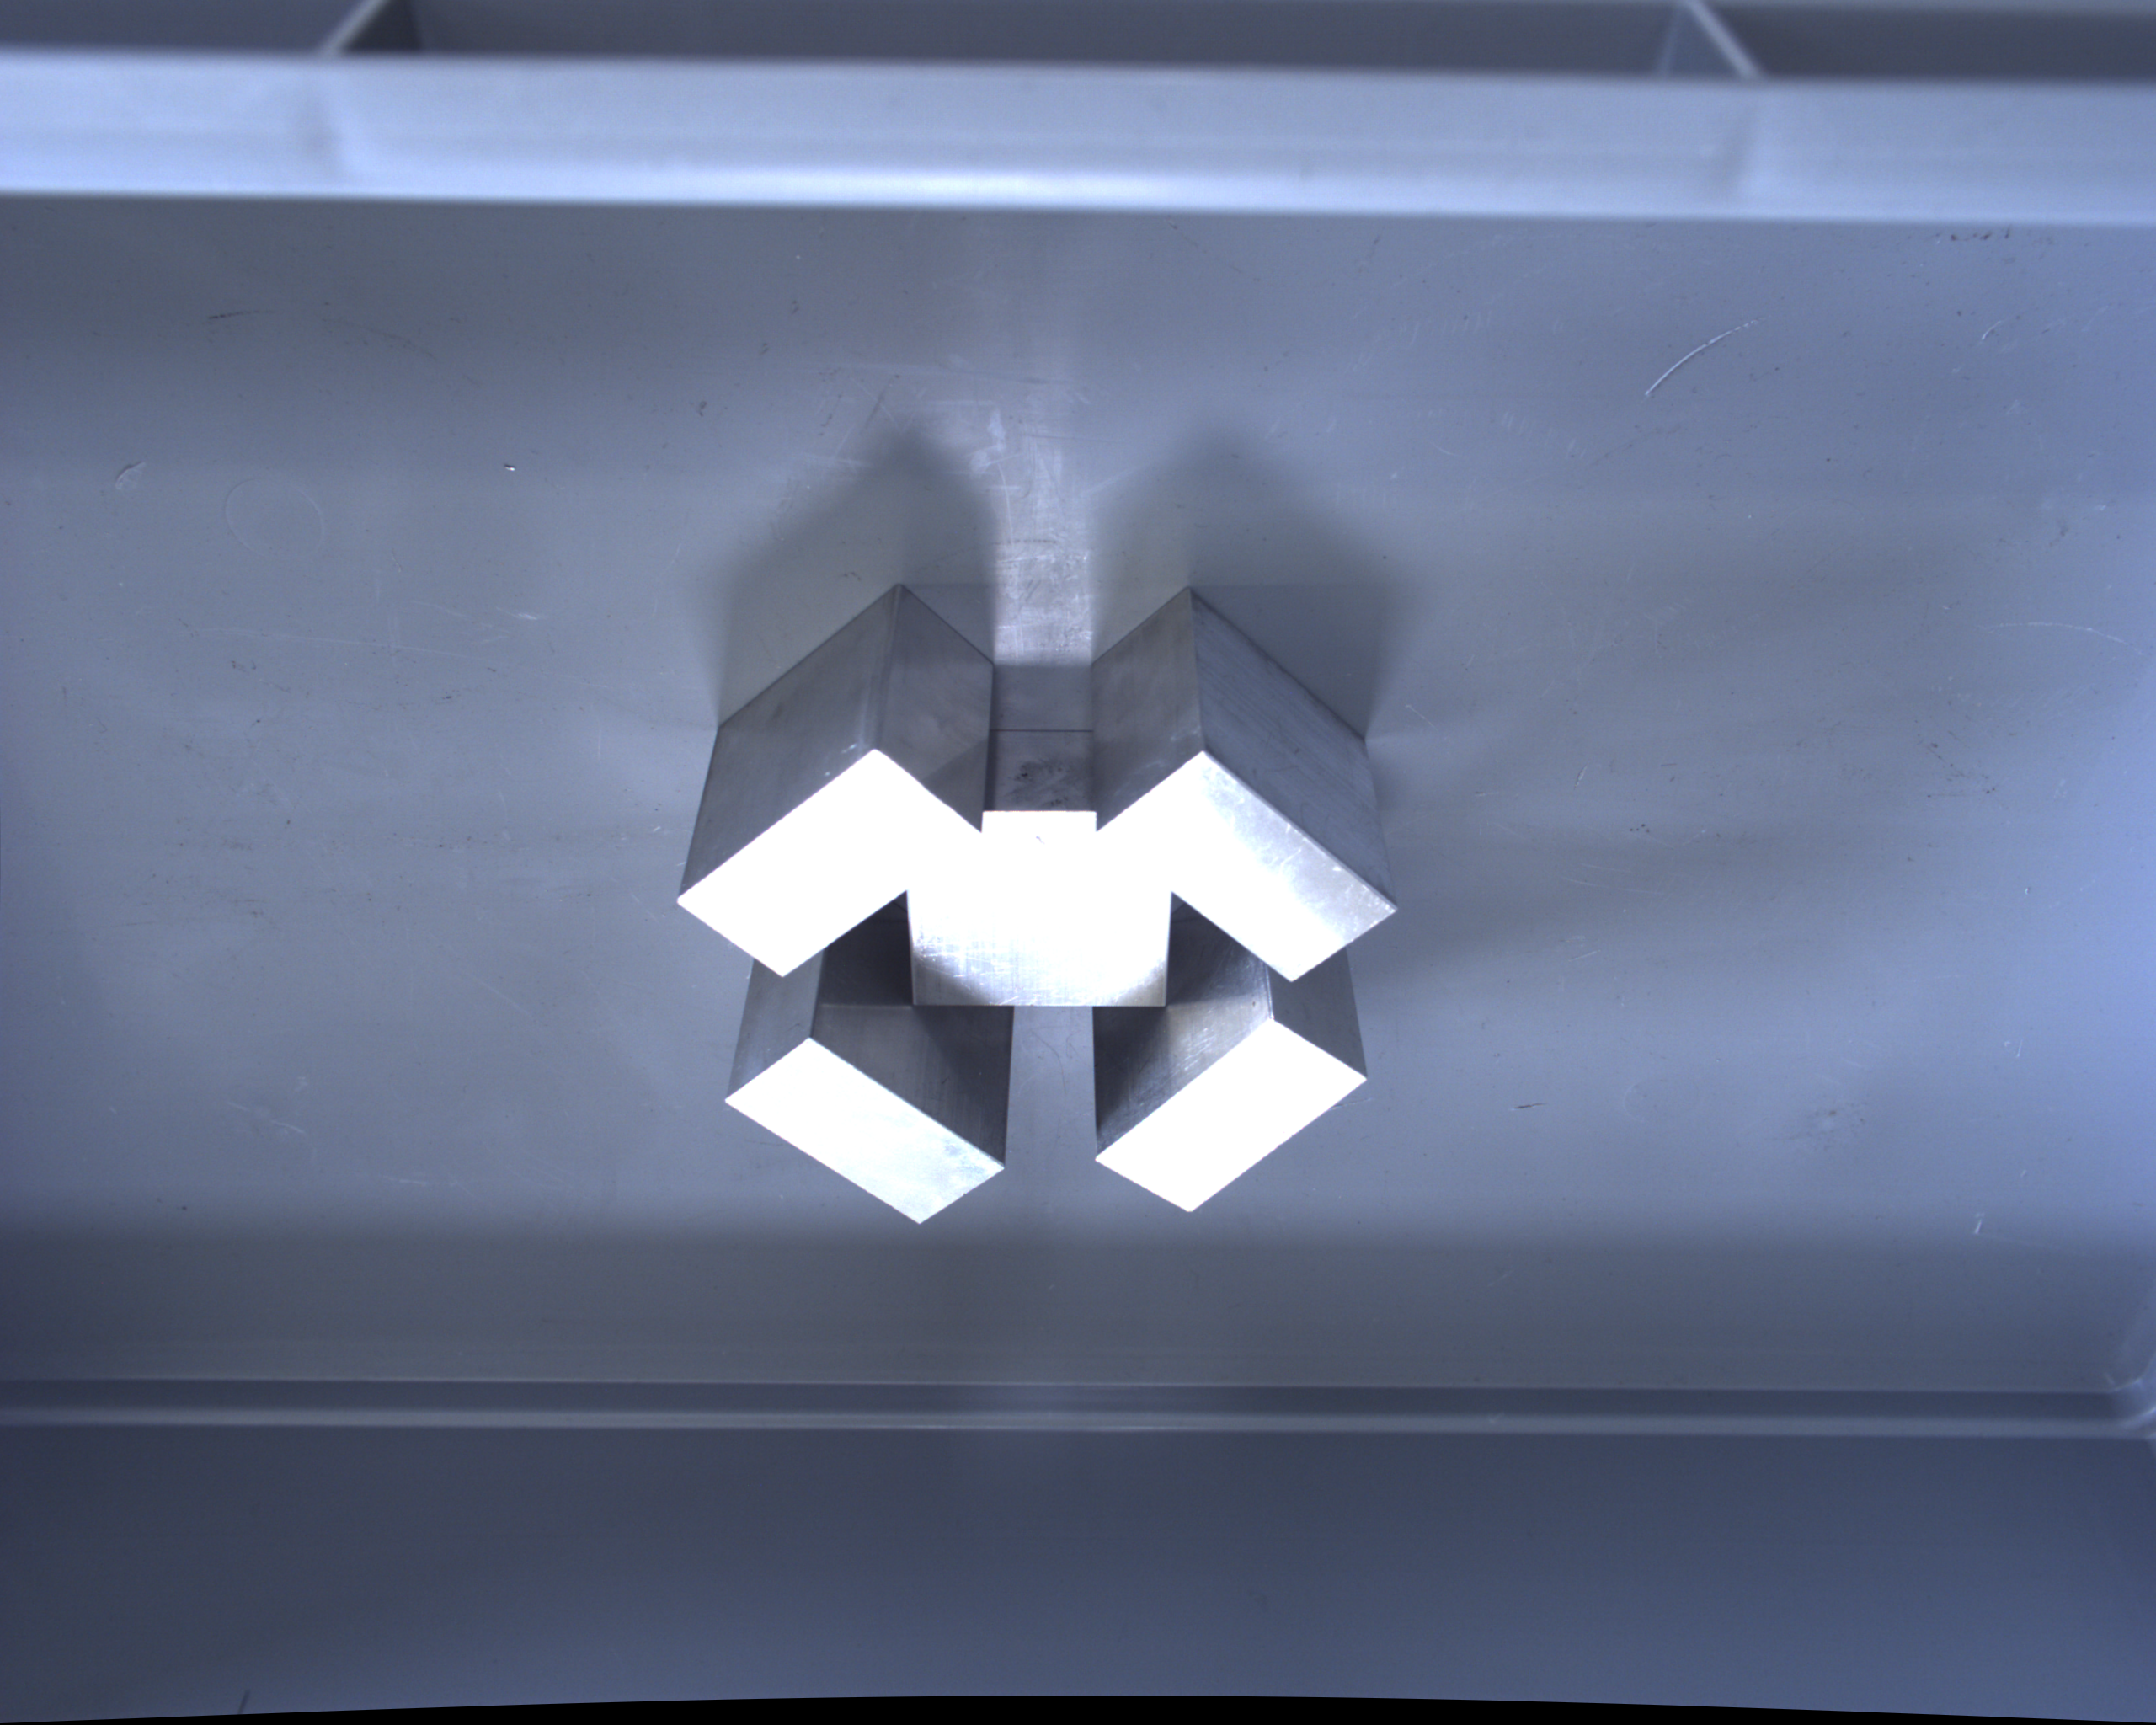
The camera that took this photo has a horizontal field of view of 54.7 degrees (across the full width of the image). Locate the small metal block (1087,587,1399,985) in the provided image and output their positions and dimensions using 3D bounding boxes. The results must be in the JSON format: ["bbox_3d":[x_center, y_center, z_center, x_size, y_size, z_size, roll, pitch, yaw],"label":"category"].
[{"bbox_3d":[0.029,-0.014,0.378,0.025,0.050,0.050,-38,122,26],"label":"small metal block"}]

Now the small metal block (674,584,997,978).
[{"bbox_3d":[-0.043,-0.015,0.377,0.050,0.050,0.025,-34,122,26],"label":"small metal block"}]

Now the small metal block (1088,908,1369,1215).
[{"bbox_3d":[0.028,0.034,0.418,0.025,0.050,0.050,33,122,-26],"label":"small metal block"}]

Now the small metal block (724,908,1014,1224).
[{"bbox_3d":[-0.040,0.036,0.421,0.025,0.050,0.050,-37,121,28],"label":"small metal block"}]

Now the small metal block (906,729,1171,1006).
[{"bbox_3d":[-0.007,0.001,0.407,0.050,0.025,0.050,0,130,-1],"label":"small metal block"}]
